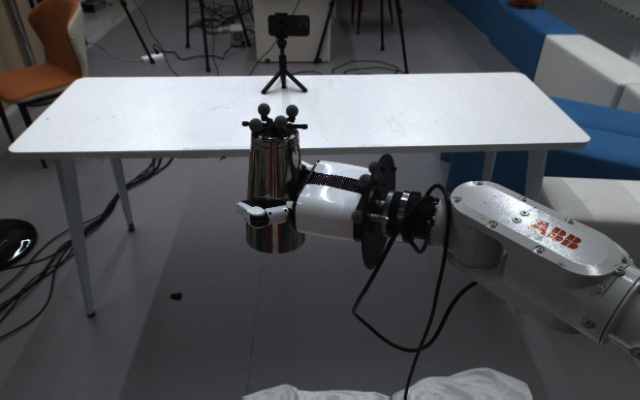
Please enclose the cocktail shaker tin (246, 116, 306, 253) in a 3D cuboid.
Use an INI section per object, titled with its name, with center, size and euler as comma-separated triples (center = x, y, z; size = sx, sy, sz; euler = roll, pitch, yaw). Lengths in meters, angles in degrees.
[cocktail shaker tin]
center = -0.063, -0.019, 0.699
size = 0.093, 0.170, 0.093
euler = 2, 28, -1
